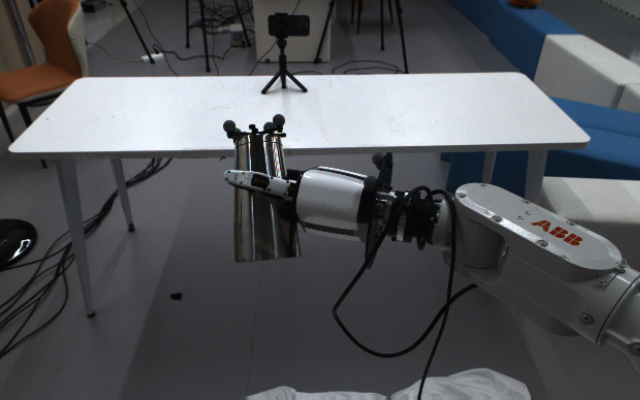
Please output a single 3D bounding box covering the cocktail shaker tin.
[{"bbox_3d":[-0.080,-0.001,0.676,0.093,0.170,0.093,-6,-7,-1],"label":"cocktail shaker tin"}]
